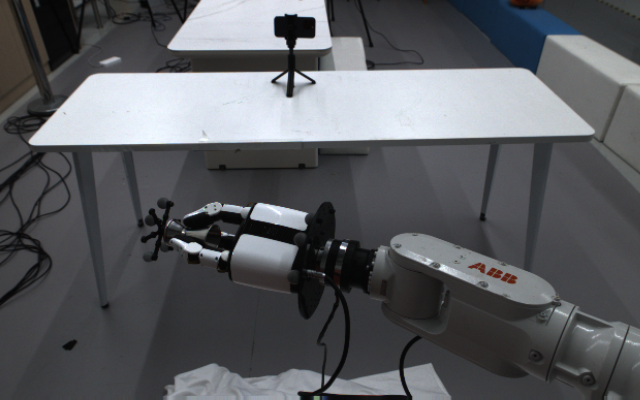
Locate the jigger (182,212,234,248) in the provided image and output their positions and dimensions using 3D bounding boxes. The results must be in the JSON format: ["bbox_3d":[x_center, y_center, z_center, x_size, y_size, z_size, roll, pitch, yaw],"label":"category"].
[{"bbox_3d":[-0.177,0.049,0.692,0.071,0.043,0.043,8,35,16],"label":"jigger"}]
